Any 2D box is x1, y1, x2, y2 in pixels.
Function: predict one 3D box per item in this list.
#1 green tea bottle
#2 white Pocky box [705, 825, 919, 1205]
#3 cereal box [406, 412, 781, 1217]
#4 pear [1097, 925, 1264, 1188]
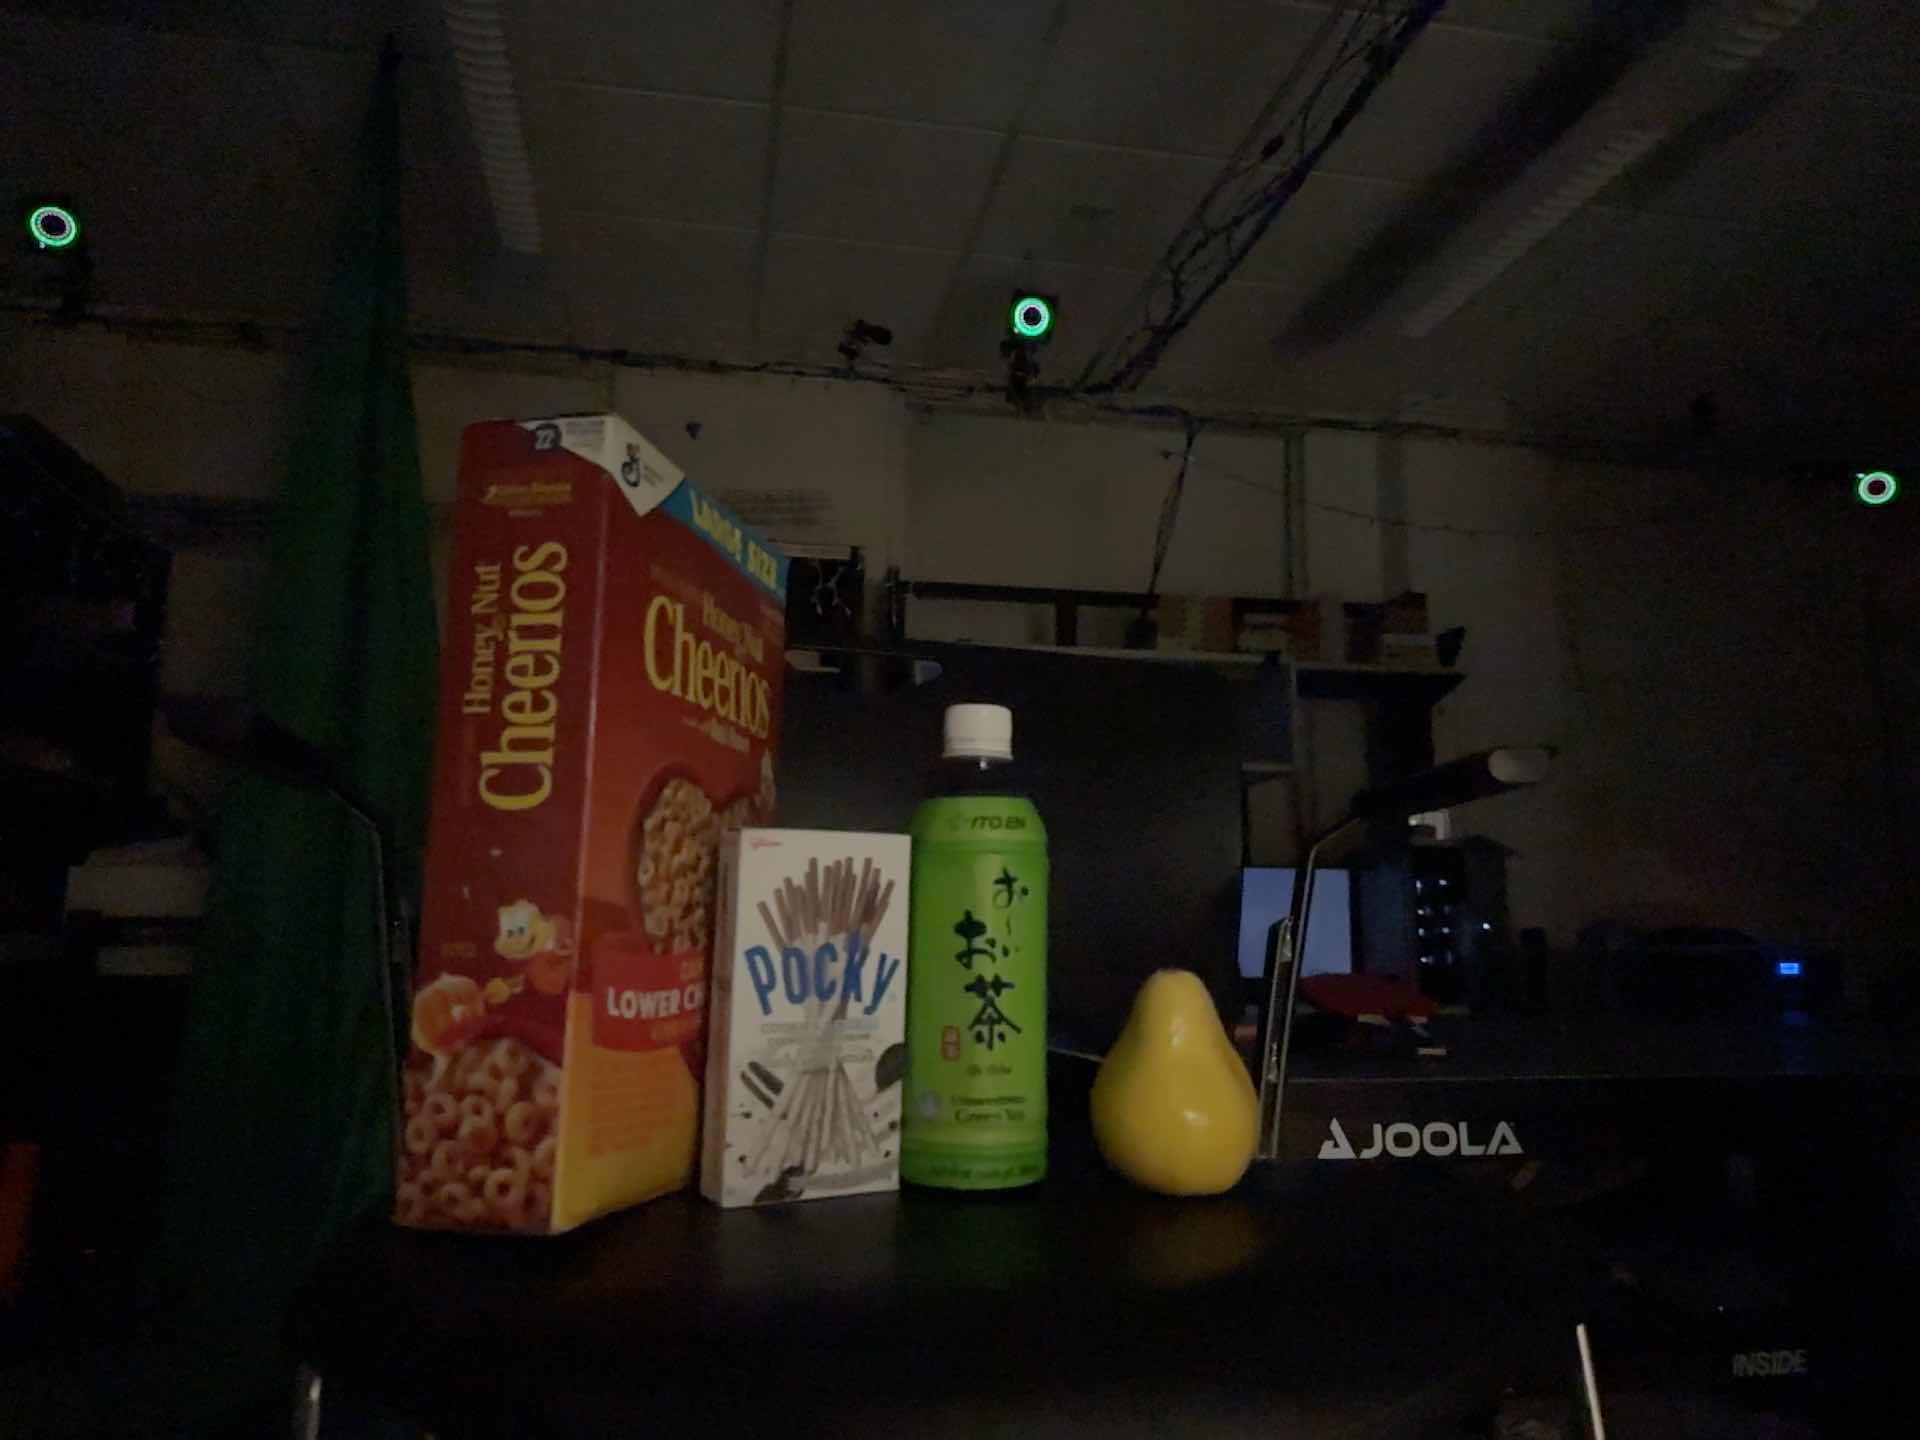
[{"bbox_3d":[0.008,0.097,0.616,0.073,0.212,0.073,-2,-6,0],"label":"green tea bottle"},{"bbox_3d":[-0.063,0.123,0.578,0.084,0.154,0.028,4,-3,-29],"label":"white Pocky box"},{"bbox_3d":[-0.148,0.042,0.603,0.065,0.297,0.195,0,-9,10],"label":"cereal box"},{"bbox_3d":[0.096,0.149,0.606,0.080,0.111,0.080,-3,-11,-1],"label":"pear"}]
